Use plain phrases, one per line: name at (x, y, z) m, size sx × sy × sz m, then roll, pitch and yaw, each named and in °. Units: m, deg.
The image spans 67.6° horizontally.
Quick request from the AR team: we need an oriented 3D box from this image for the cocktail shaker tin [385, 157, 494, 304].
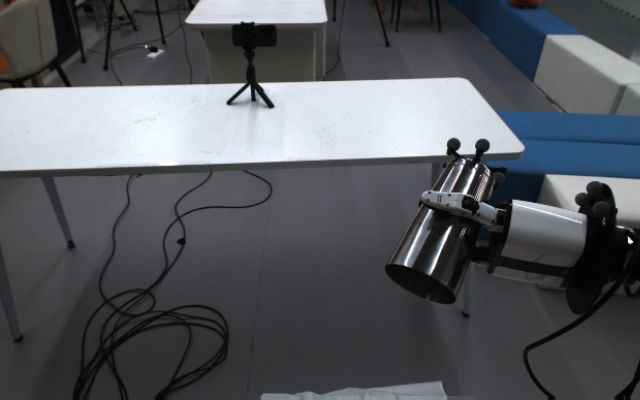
cocktail shaker tin at (0.161, 0.029, 0.608) m, size 0.093 × 0.093 × 0.170 m, roll 20°, pitch 67°, yaw 23°
